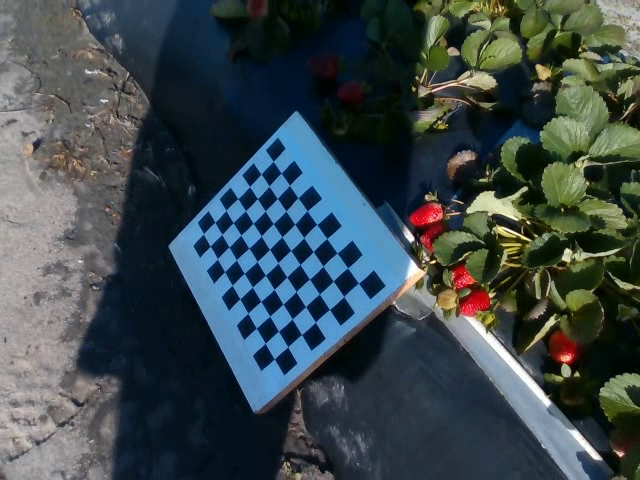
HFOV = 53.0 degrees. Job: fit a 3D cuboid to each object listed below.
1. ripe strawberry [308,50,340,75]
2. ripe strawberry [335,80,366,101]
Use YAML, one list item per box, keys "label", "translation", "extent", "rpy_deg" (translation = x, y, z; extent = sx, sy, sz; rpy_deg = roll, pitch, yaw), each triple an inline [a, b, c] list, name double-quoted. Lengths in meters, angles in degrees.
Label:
- label: "ripe strawberry"
  translation: [0.001, -0.260, 0.944]
  extent: [0.050, 0.051, 0.044]
  rpy_deg: [1, -28, -37]
- label: "ripe strawberry"
  translation: [0.041, -0.209, 0.910]
  extent: [0.042, 0.039, 0.049]
  rpy_deg: [3, 17, 36]
